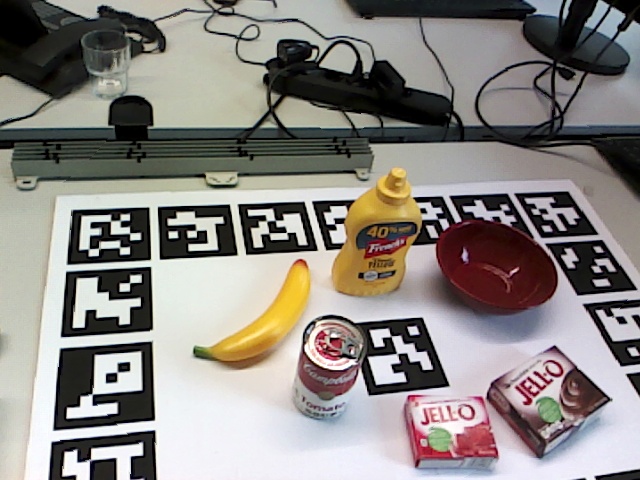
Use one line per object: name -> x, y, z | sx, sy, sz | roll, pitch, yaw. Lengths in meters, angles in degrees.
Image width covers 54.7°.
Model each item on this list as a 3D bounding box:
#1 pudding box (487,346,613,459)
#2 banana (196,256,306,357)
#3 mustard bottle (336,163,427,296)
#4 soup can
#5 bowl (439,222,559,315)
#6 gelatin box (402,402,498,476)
pudding box -> 0.268, 0.187, 0.724 | 0.113, 0.038, 0.090 | -22, 58, -29
banana -> -0.066, 0.084, 0.768 | 0.074, 0.039, 0.197 | 20, 44, 24
mustard bottle -> 0.081, -0.013, 0.767 | 0.096, 0.191, 0.059 | -2, 43, -13
soup can -> 0.002, 0.134, 0.672 | 0.068, 0.102, 0.068 | 7, 42, -6
bowl -> 0.238, 0.049, 0.851 | 0.161, 0.055, 0.162 | 4, 44, -4
gelatin box -> 0.140, 0.217, 0.678 | 0.089, 0.030, 0.073 | 2, 48, -8
